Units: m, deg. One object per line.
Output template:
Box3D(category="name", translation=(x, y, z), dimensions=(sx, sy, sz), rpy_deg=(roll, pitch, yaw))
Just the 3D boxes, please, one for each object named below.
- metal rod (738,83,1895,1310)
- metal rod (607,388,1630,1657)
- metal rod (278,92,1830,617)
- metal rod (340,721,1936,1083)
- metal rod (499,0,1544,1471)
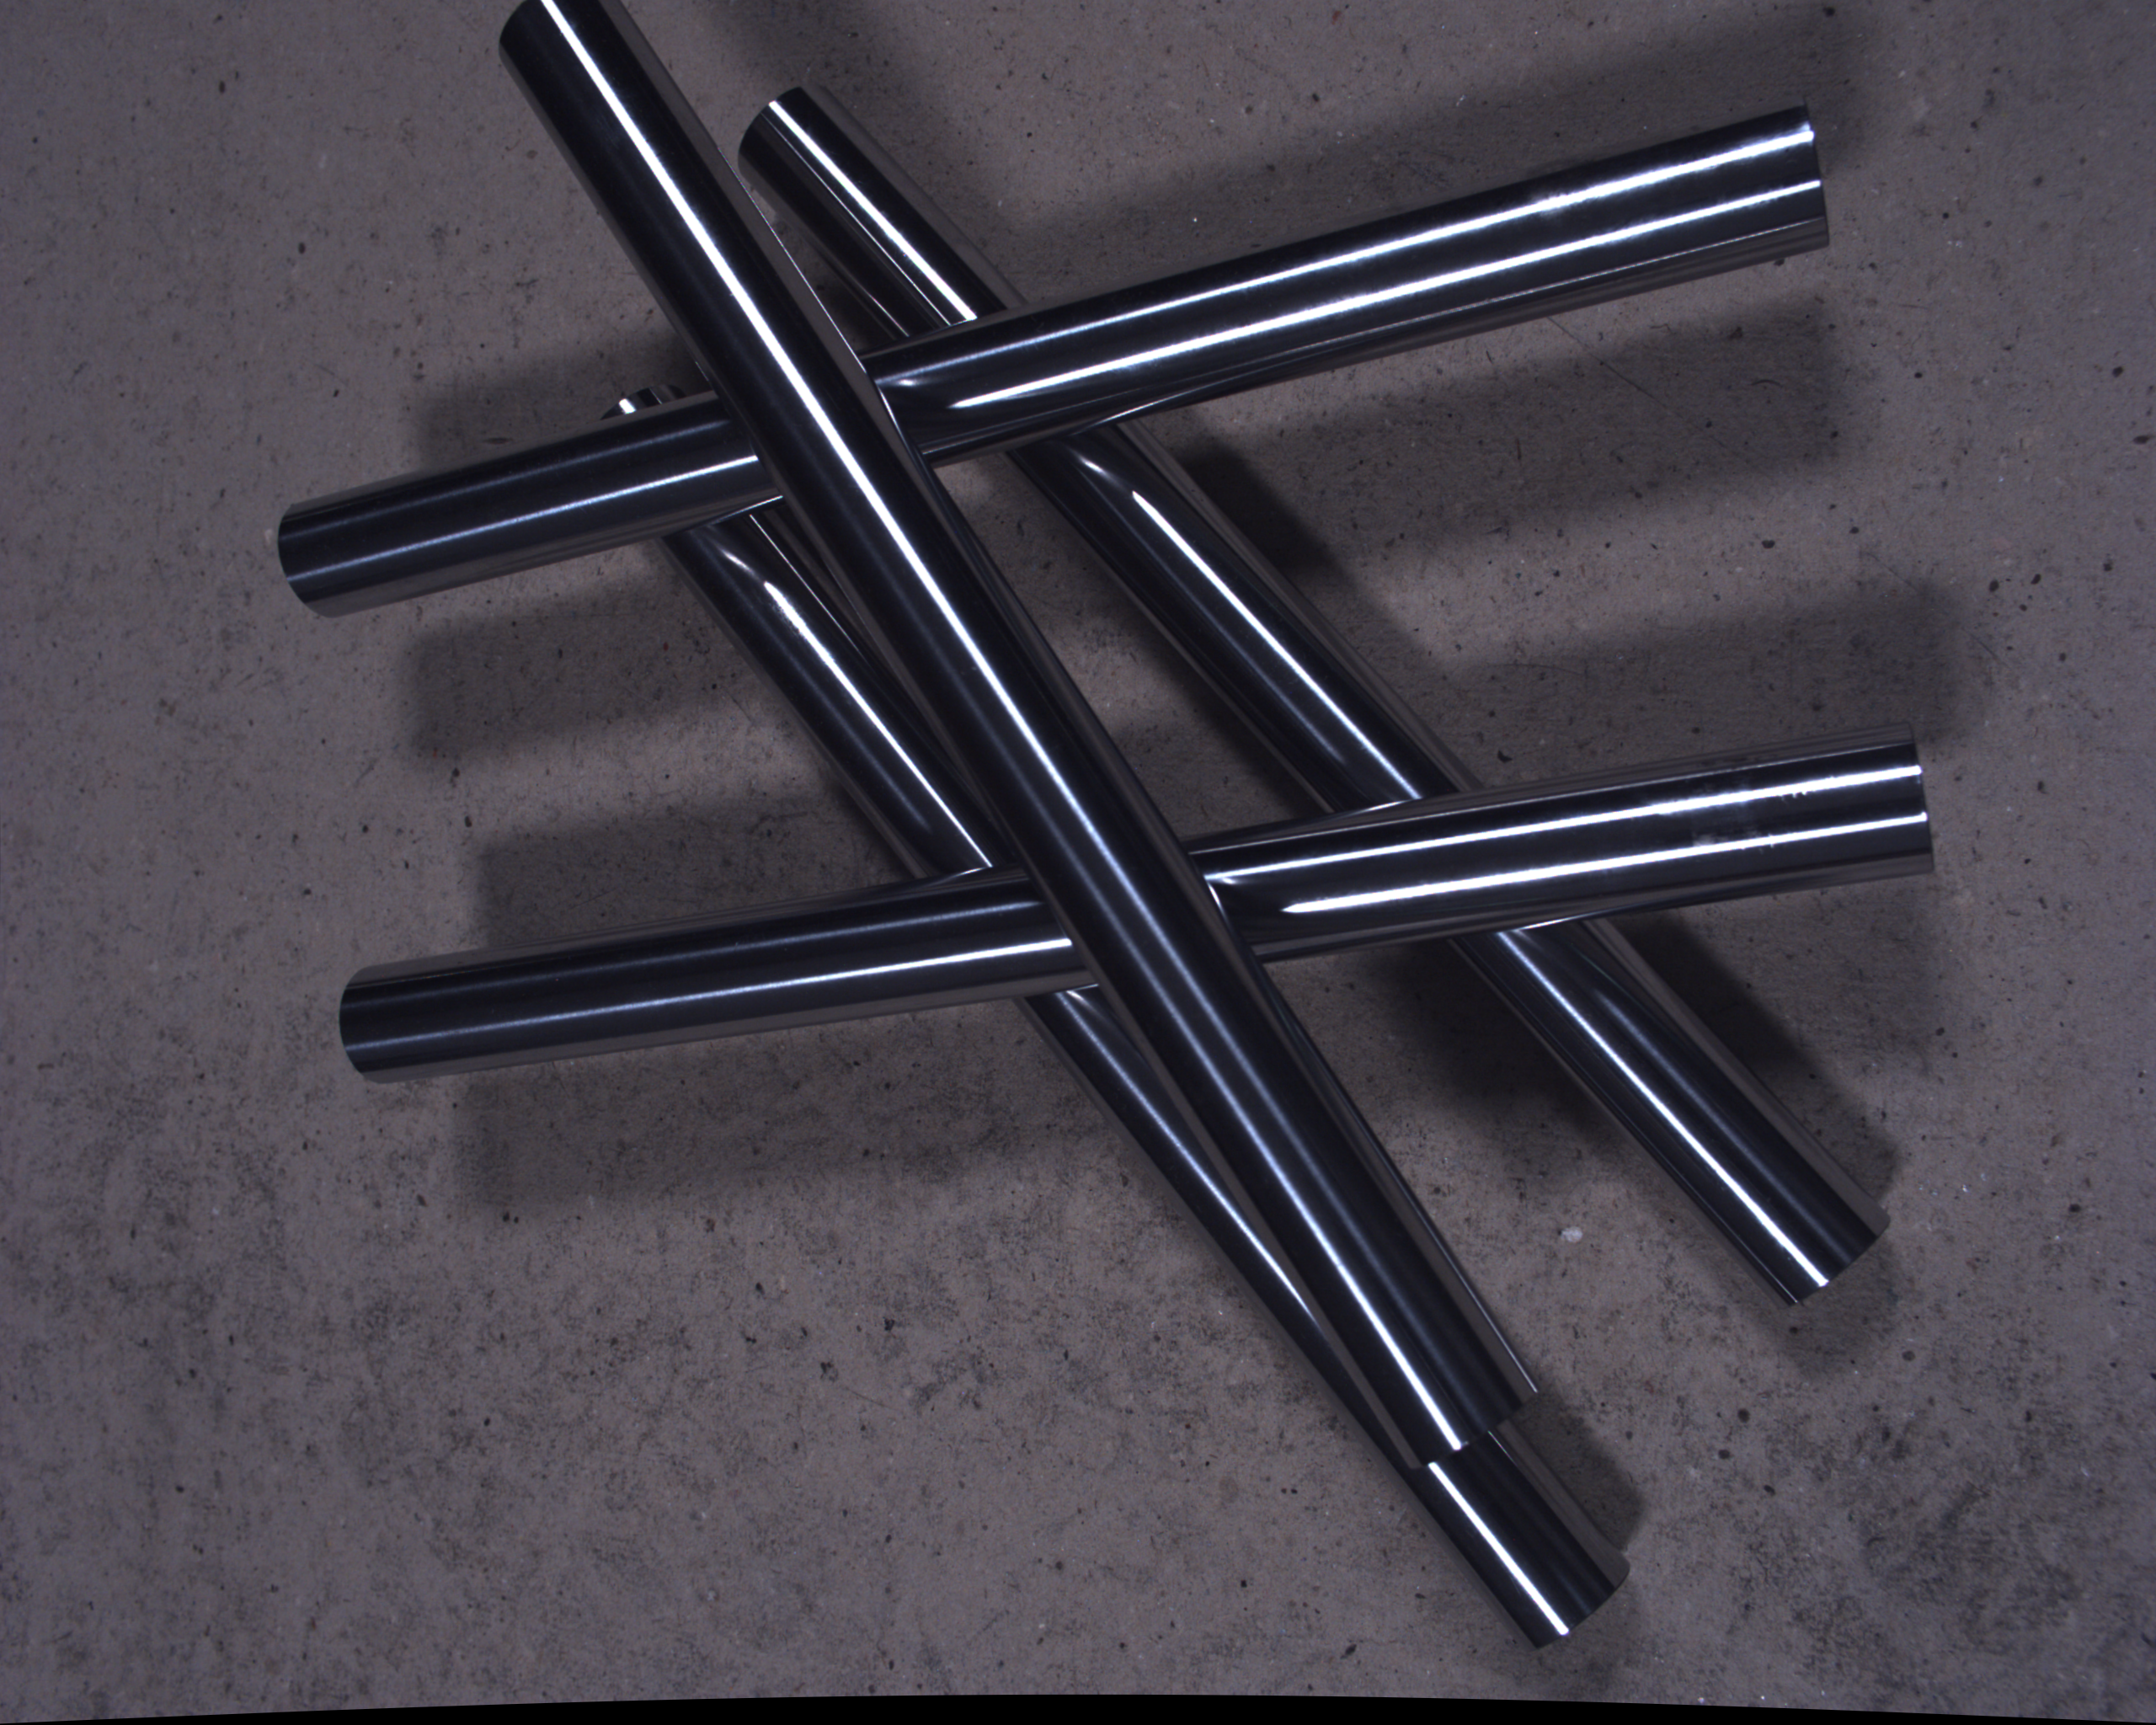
Box3D(category="metal rod", translation=(0.036, -0.040, 0.396), dimensions=(0.025, 0.025, 0.300), rpy_deg=(-44, 77, 14))
Box3D(category="metal rod", translation=(-0.002, 0.022, 0.409), dimensions=(0.025, 0.025, 0.300), rpy_deg=(-42, 77, 15))
Box3D(category="metal rod", translation=(-0.019, -0.089, 0.390), dimensions=(0.301, 0.025, 0.025), rpy_deg=(-10, 87, 19))
Box3D(category="metal rod", translation=(-0.004, 0.011, 0.385), dimensions=(0.301, 0.025, 0.025), rpy_deg=(-9, 87, 19))
Box3D(category="metal rod", translation=(-0.016, -0.033, 0.362), dimensions=(0.025, 0.025, 0.299), rpy_deg=(-36, 79, 16))
